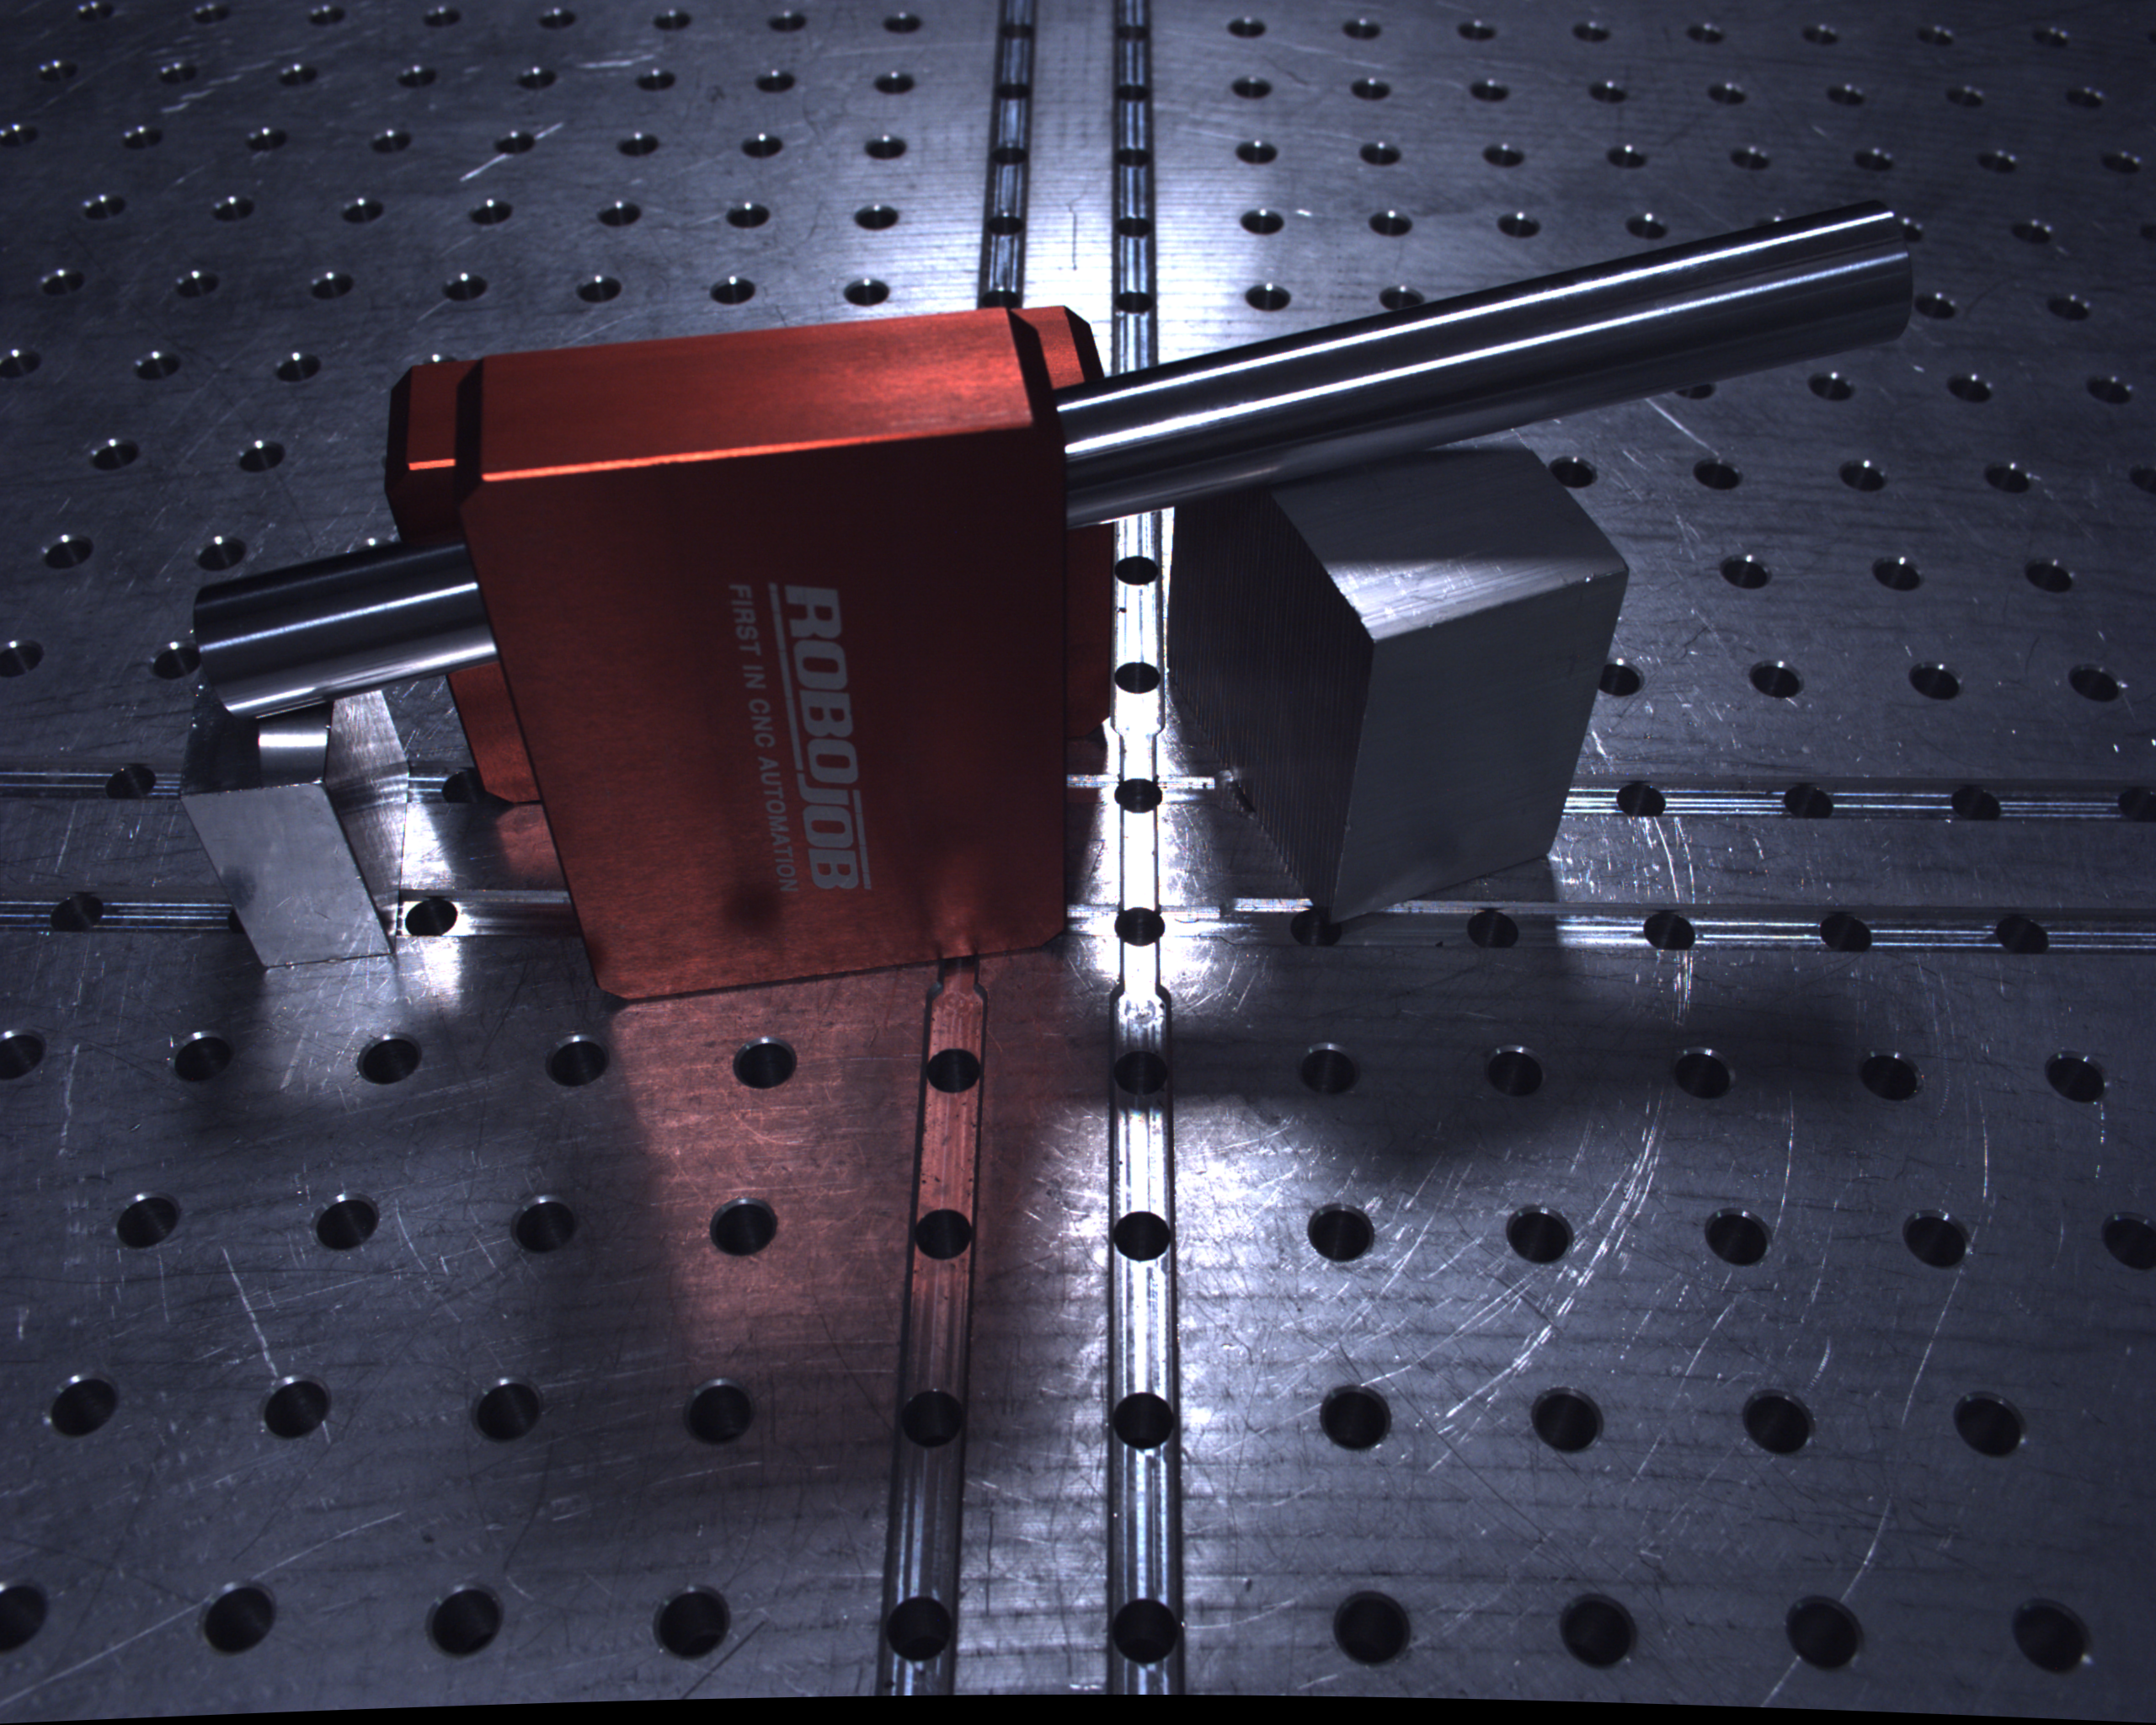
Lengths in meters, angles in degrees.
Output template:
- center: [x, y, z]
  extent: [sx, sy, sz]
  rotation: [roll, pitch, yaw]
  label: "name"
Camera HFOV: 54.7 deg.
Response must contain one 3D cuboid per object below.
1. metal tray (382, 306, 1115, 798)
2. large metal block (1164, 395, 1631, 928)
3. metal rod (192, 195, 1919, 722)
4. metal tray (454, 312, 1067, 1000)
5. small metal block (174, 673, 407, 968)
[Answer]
- center: [-0.060, -0.059, 0.413]
  extent: [0.131, 0.089, 0.030]
  rotation: [-7, 52, -6]
  label: "metal tray"
- center: [0.058, -0.048, 0.412]
  extent: [0.050, 0.080, 0.080]
  rotation: [-18, 53, -15]
  label: "large metal block"
- center: [-0.004, -0.071, 0.369]
  extent: [0.302, 0.025, 0.025]
  rotation: [-13, 51, 1]
  label: "metal rod"
- center: [-0.049, -0.030, 0.364]
  extent: [0.091, 0.129, 0.030]
  rotation: [-7, 51, -7]
  label: "metal tray"
- center: [-0.150, -0.016, 0.402]
  extent: [0.025, 0.050, 0.050]
  rotation: [-6, 51, -6]
  label: "small metal block"
